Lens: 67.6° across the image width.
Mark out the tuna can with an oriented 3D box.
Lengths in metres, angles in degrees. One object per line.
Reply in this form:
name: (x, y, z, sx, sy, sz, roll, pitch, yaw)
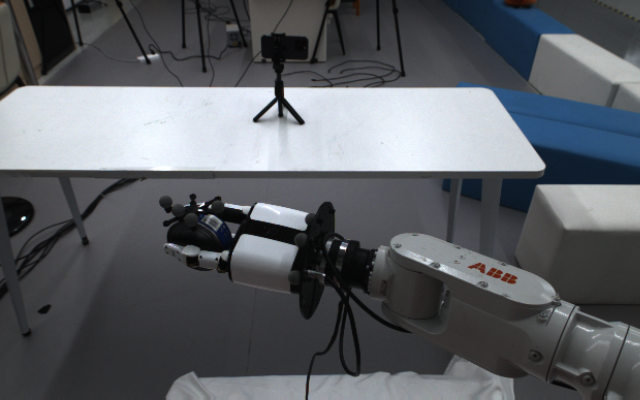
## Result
tuna can: (-0.166, 0.056, 0.677, 0.085, 0.085, 0.034, 11, 33, 13)
